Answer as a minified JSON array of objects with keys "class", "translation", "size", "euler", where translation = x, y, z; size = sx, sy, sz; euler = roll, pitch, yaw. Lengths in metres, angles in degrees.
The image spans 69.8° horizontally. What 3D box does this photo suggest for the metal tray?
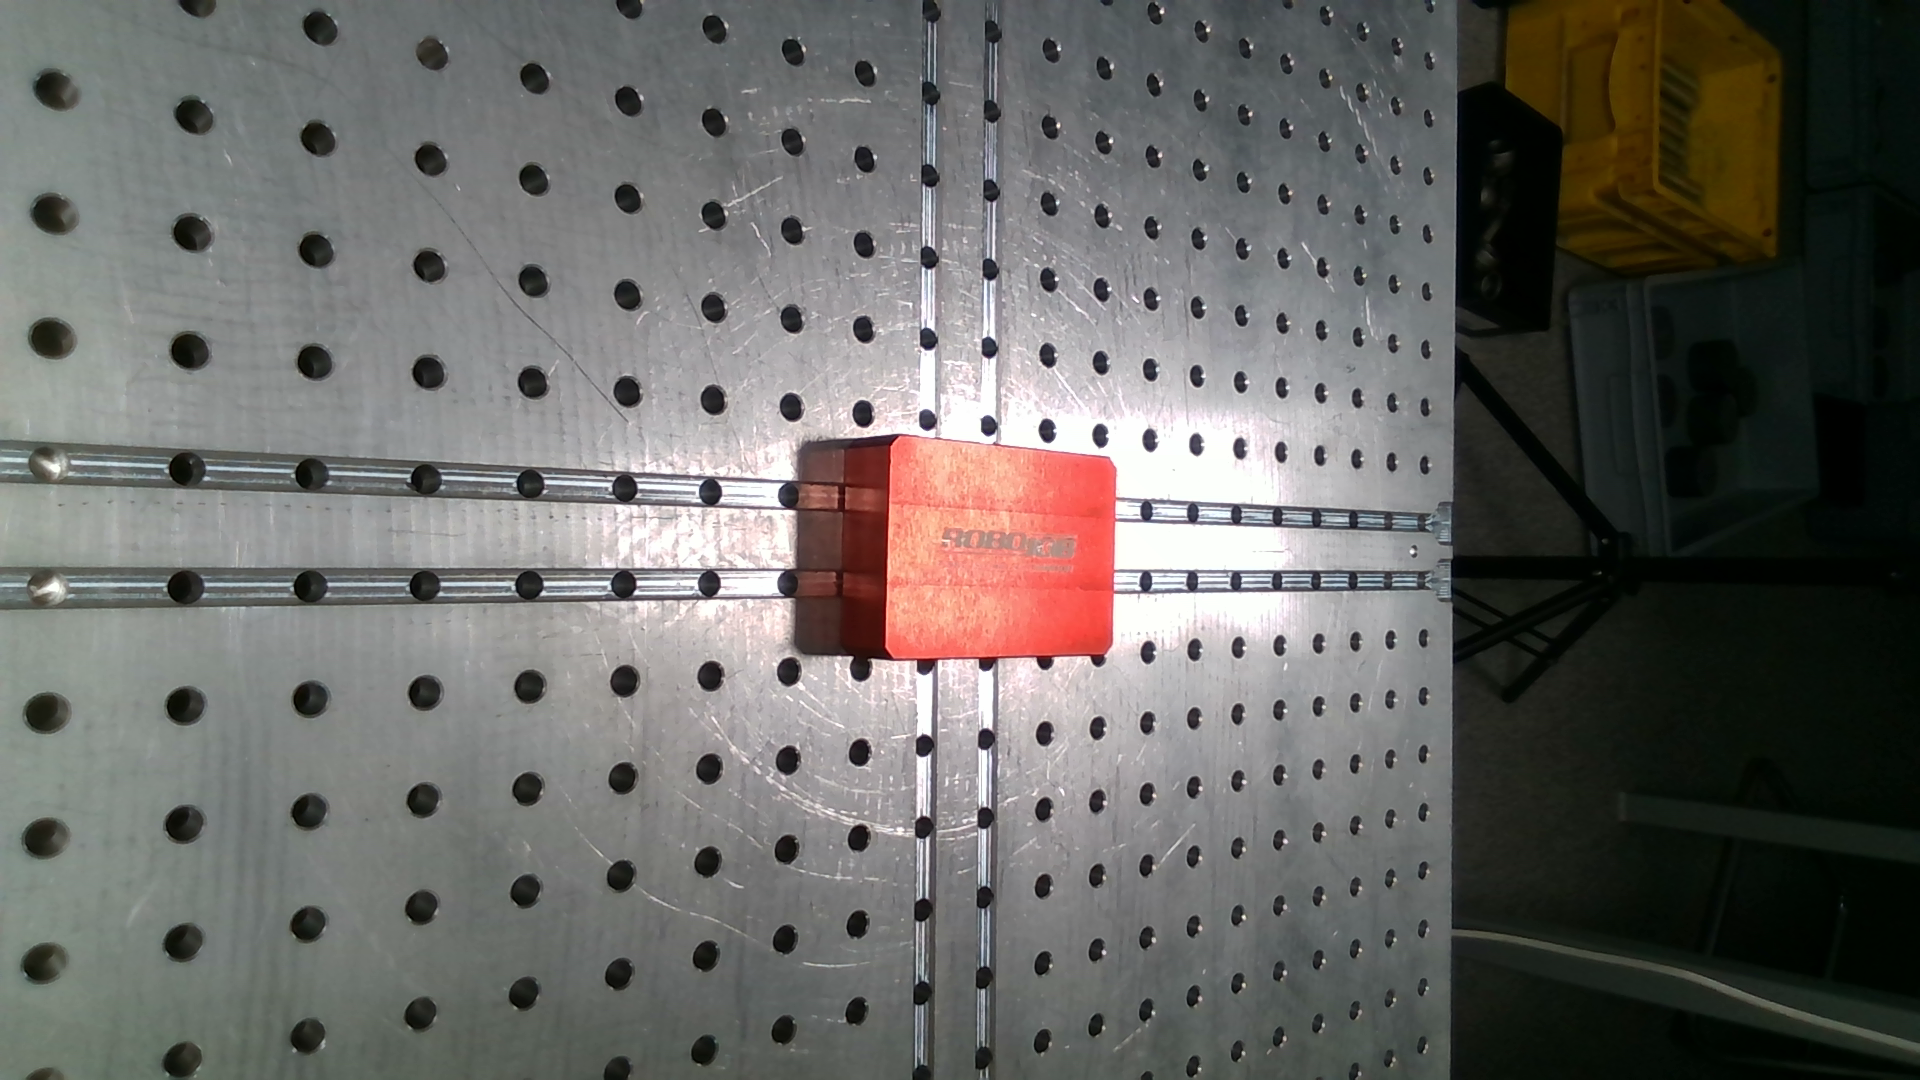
[{"class":"metal tray","translation":[0.011,0.004,0.592],"size":[0.130,0.030,0.090],"euler":[3,88,-40]}]
